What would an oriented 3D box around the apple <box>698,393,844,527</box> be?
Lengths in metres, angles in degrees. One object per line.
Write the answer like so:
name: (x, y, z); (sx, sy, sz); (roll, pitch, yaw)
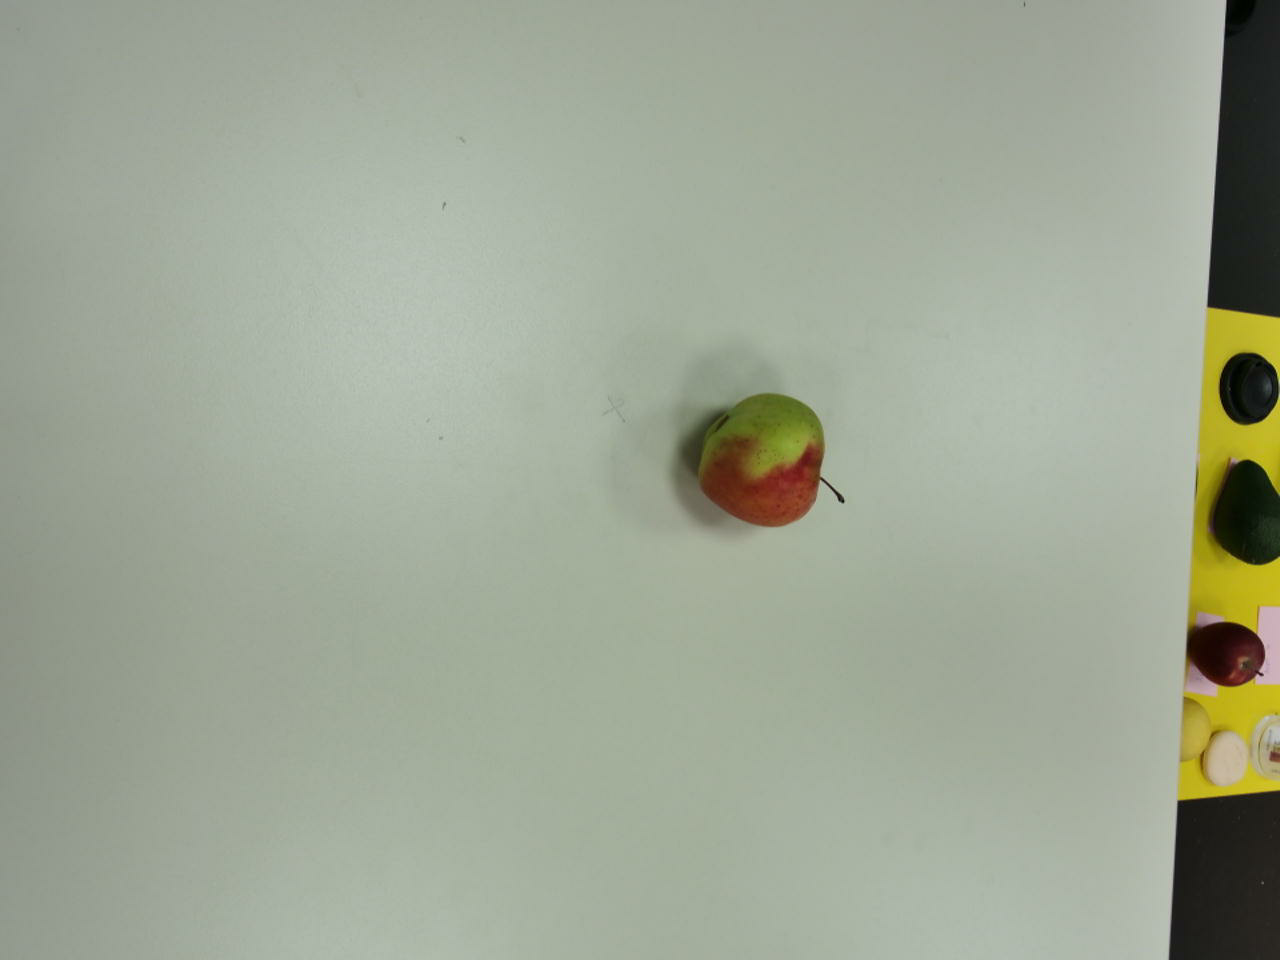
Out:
apple: (0.070, -0.010, 0.561); (0.075, 0.074, 0.075); (-16, 96, -21)
